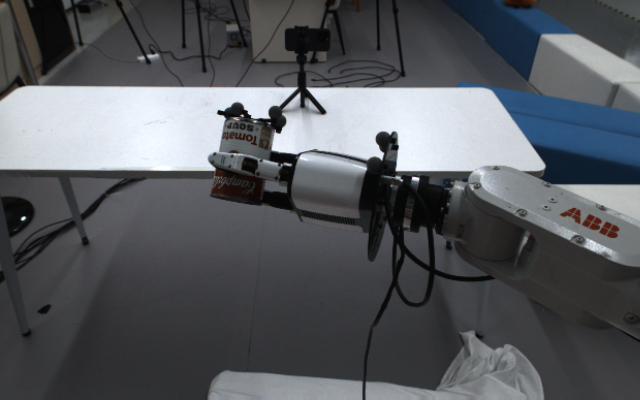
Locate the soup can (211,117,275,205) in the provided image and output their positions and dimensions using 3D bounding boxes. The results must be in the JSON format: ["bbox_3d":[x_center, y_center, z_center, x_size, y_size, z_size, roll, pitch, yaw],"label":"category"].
[{"bbox_3d":[-0.099,-0.048,0.627,0.067,0.101,0.067,9,-5,1],"label":"soup can"}]
